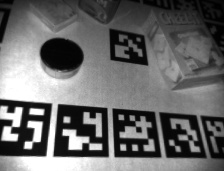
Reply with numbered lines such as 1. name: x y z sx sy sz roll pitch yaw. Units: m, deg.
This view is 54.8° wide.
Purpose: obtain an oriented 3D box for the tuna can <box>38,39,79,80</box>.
1. tuna can: -0.117 -0.057 0.474 0.086 0.033 0.085 7 64 -15

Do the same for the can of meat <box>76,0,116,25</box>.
1. can of meat: -0.042 -0.222 0.571 0.102 0.083 0.058 32 57 1

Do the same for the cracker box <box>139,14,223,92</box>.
1. cracker box: 0.192 -0.100 0.596 0.166 0.072 0.212 -8 65 -25

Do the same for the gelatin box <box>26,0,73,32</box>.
1. gelatin box: -0.154 -0.185 0.534 0.089 0.030 0.074 44 55 3
